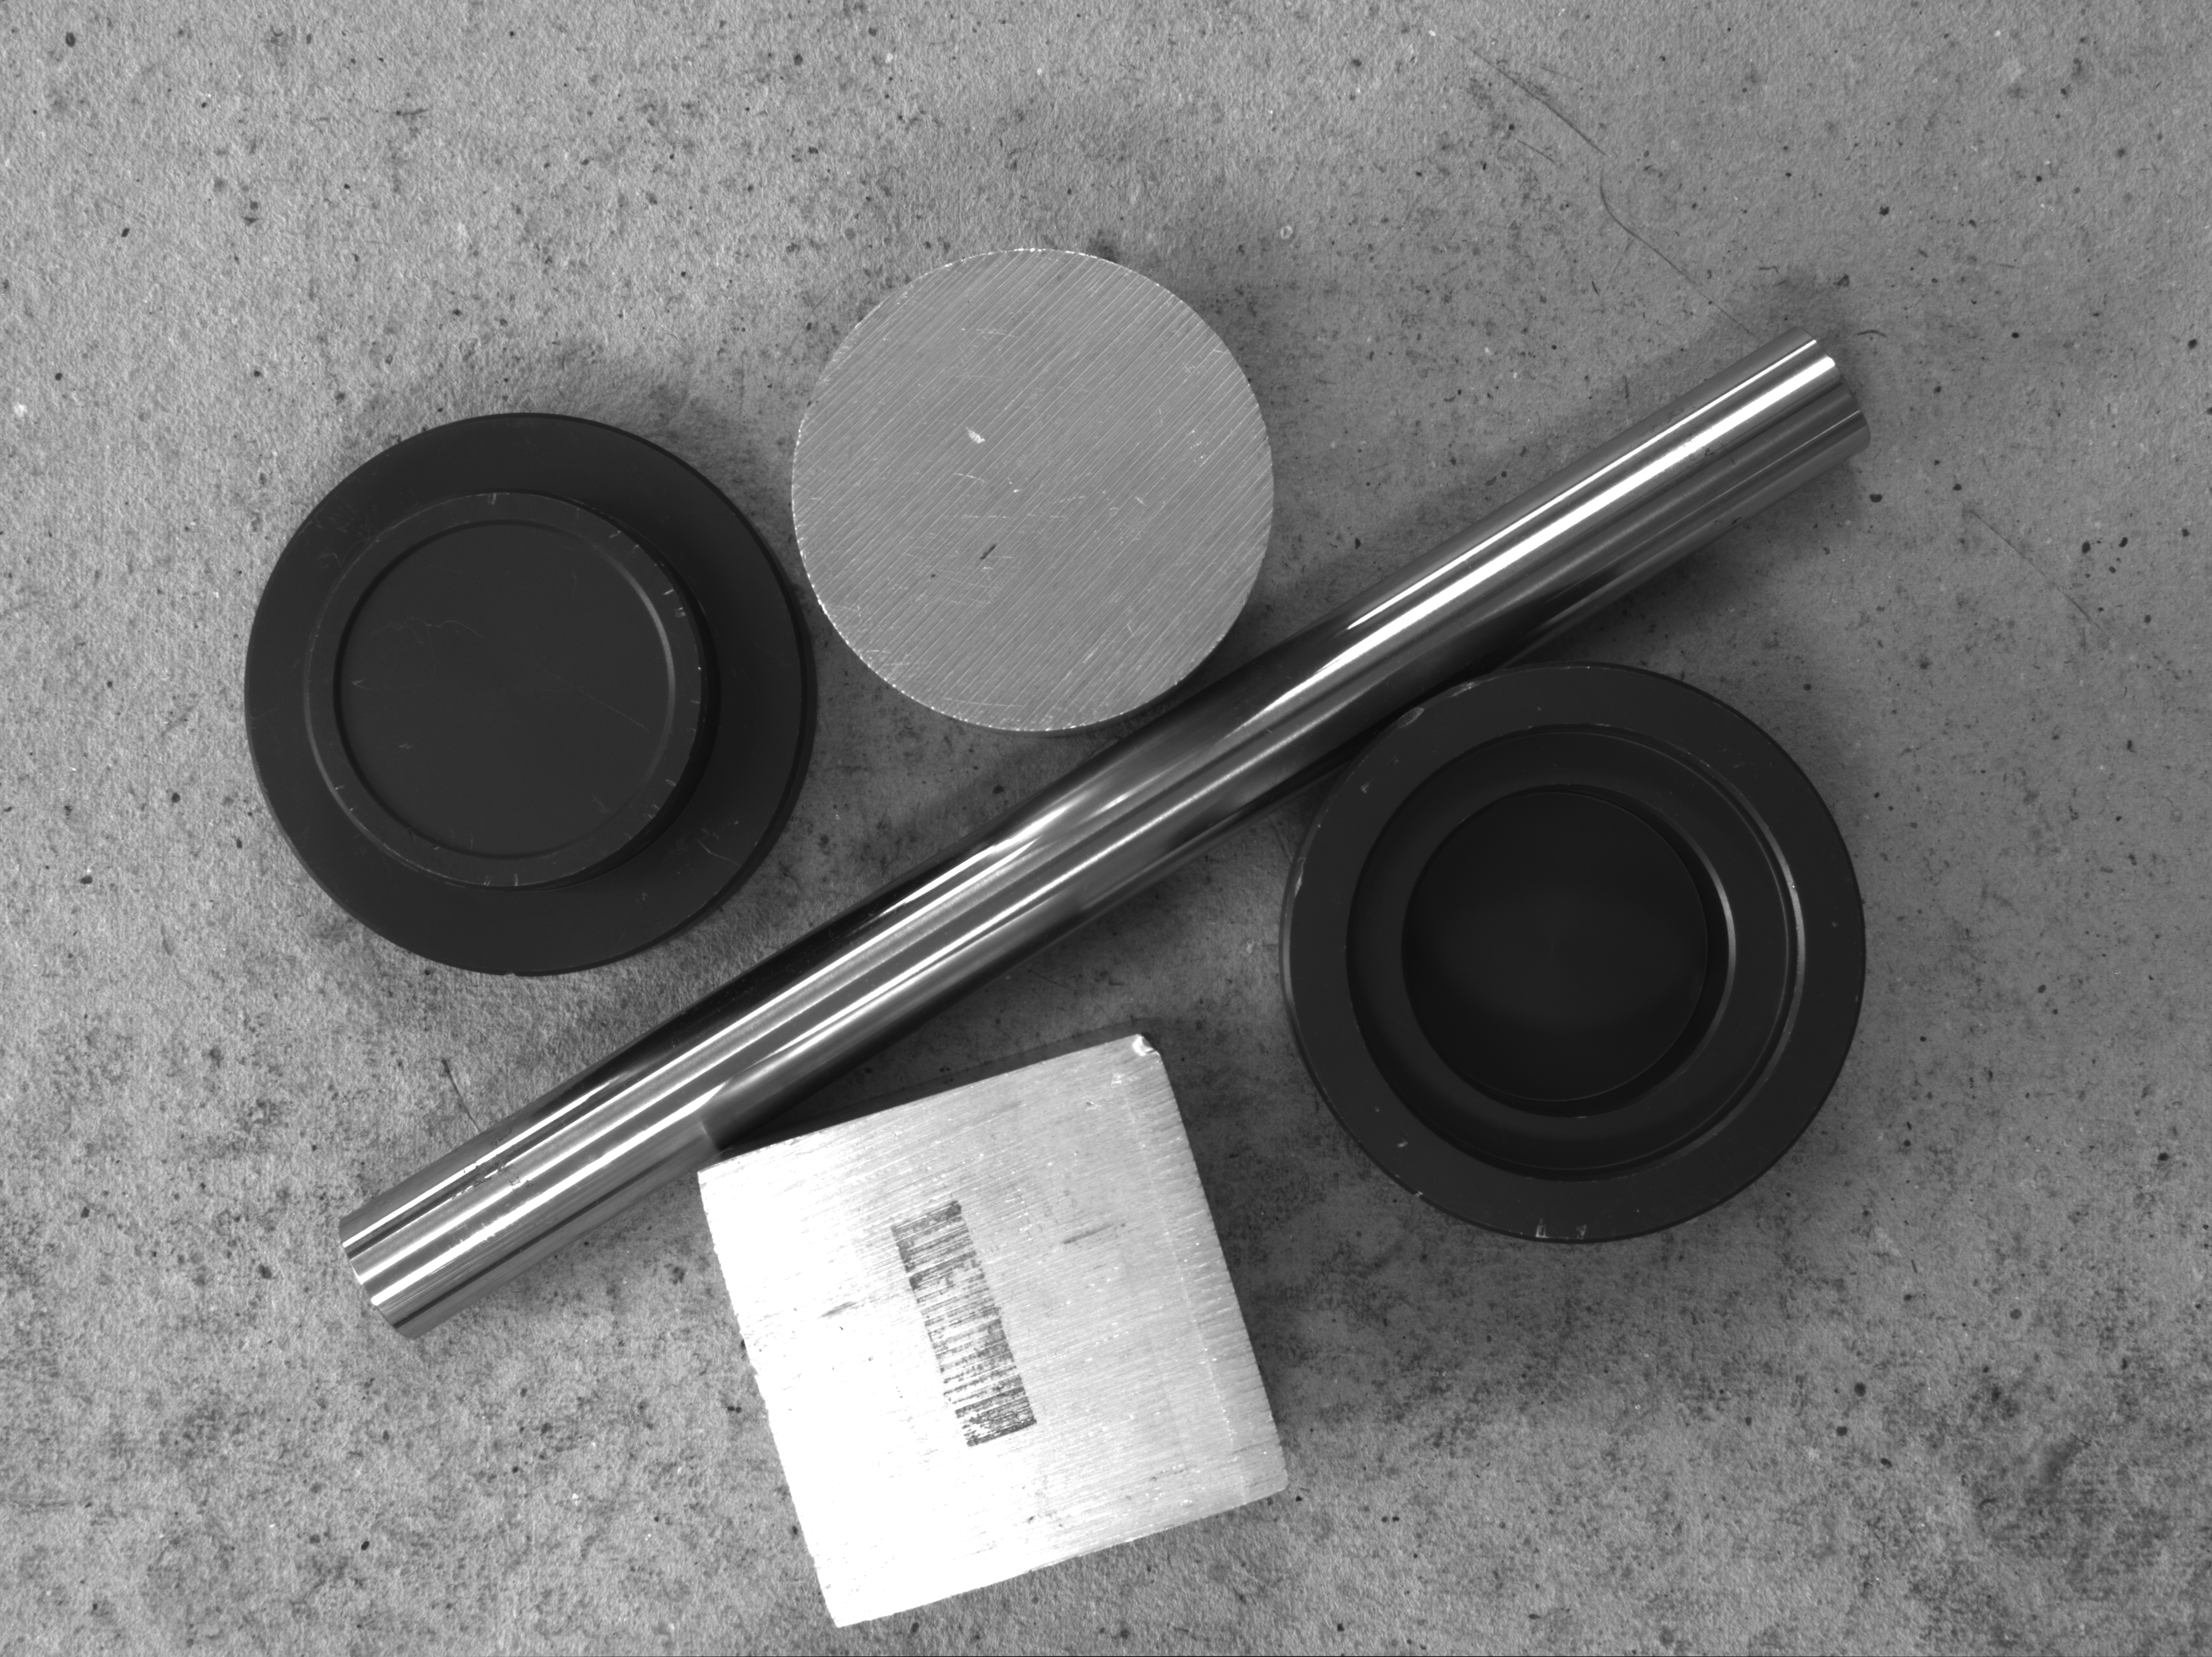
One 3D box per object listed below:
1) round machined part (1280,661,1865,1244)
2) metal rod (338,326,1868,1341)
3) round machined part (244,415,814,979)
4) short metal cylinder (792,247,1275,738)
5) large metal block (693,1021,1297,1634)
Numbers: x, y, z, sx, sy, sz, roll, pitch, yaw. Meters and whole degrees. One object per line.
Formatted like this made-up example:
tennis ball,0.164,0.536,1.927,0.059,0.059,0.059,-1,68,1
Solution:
round machined part,0.079,0.021,0.637,0.098,0.042,0.098,0,90,0
metal rod,0.000,0.001,0.647,0.300,0.025,0.025,-32,90,0
round machined part,-0.101,-0.023,0.637,0.098,0.042,0.098,0,90,0
short metal cylinder,-0.012,-0.056,0.633,0.080,0.050,0.080,0,90,0
large metal block,-0.018,0.084,0.634,0.080,0.050,0.080,-17,90,0
